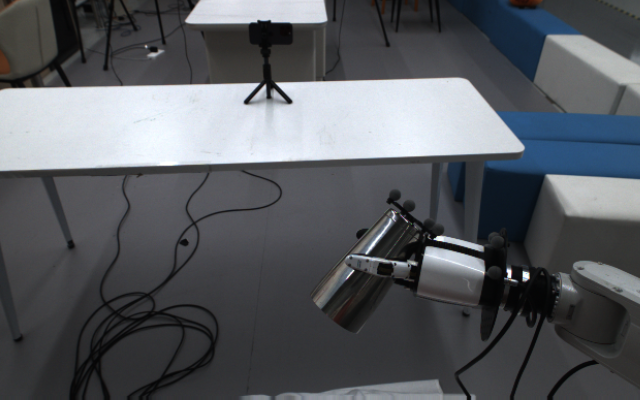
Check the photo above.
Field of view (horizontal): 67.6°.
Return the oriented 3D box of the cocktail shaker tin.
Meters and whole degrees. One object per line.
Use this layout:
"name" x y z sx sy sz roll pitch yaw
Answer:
"cocktail shaker tin" 0.075 0.093 0.704 0.170 0.093 0.093 -50 46 4
